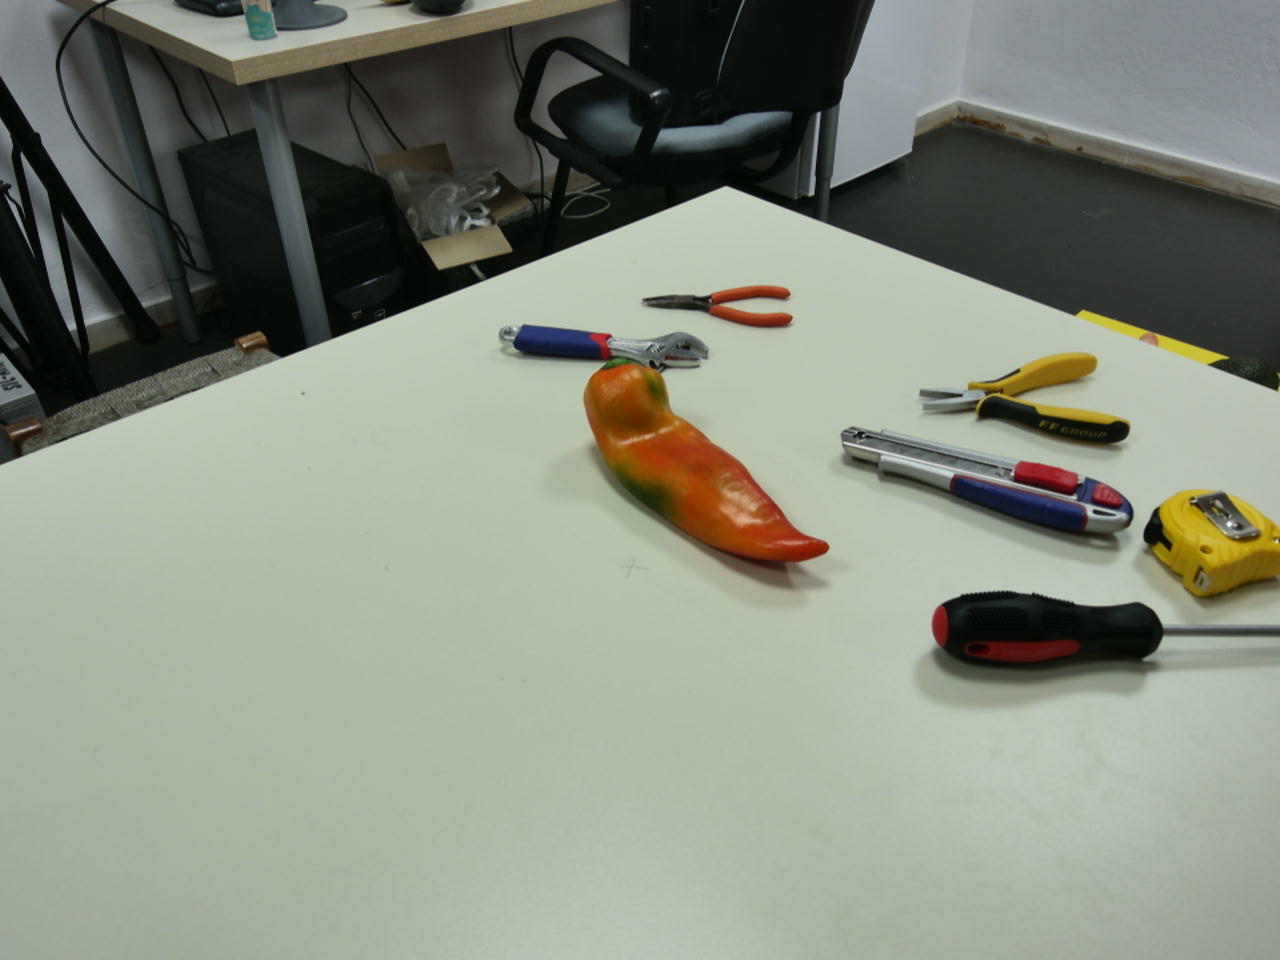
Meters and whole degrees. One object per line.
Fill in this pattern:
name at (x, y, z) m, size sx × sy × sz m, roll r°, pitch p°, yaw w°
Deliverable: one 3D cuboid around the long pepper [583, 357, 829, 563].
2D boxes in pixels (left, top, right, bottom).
long pepper at (0.035, -0.011, 0.598) m, size 0.066 × 0.065 × 0.199 m, roll -24°, pitch 42°, yaw -28°
